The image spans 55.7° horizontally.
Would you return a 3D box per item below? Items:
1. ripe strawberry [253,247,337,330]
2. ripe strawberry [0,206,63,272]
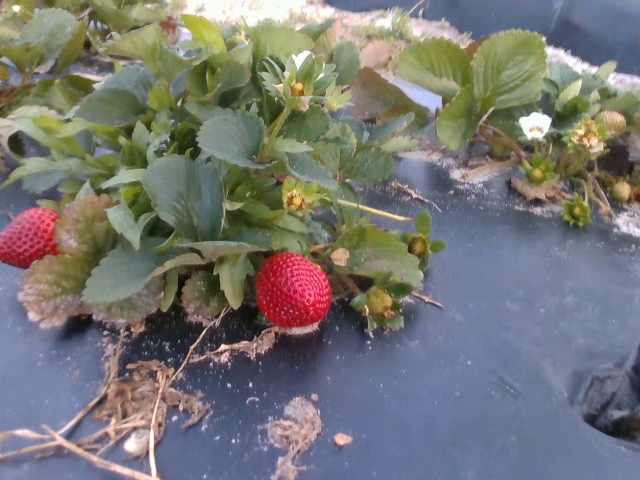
[{"bbox_3d":[-0.013,0.027,0.314,0.043,0.047,0.046,-34,24,-11],"label":"ripe strawberry"},{"bbox_3d":[-0.170,0.003,0.352,0.043,0.043,0.050,31,41,31],"label":"ripe strawberry"}]
